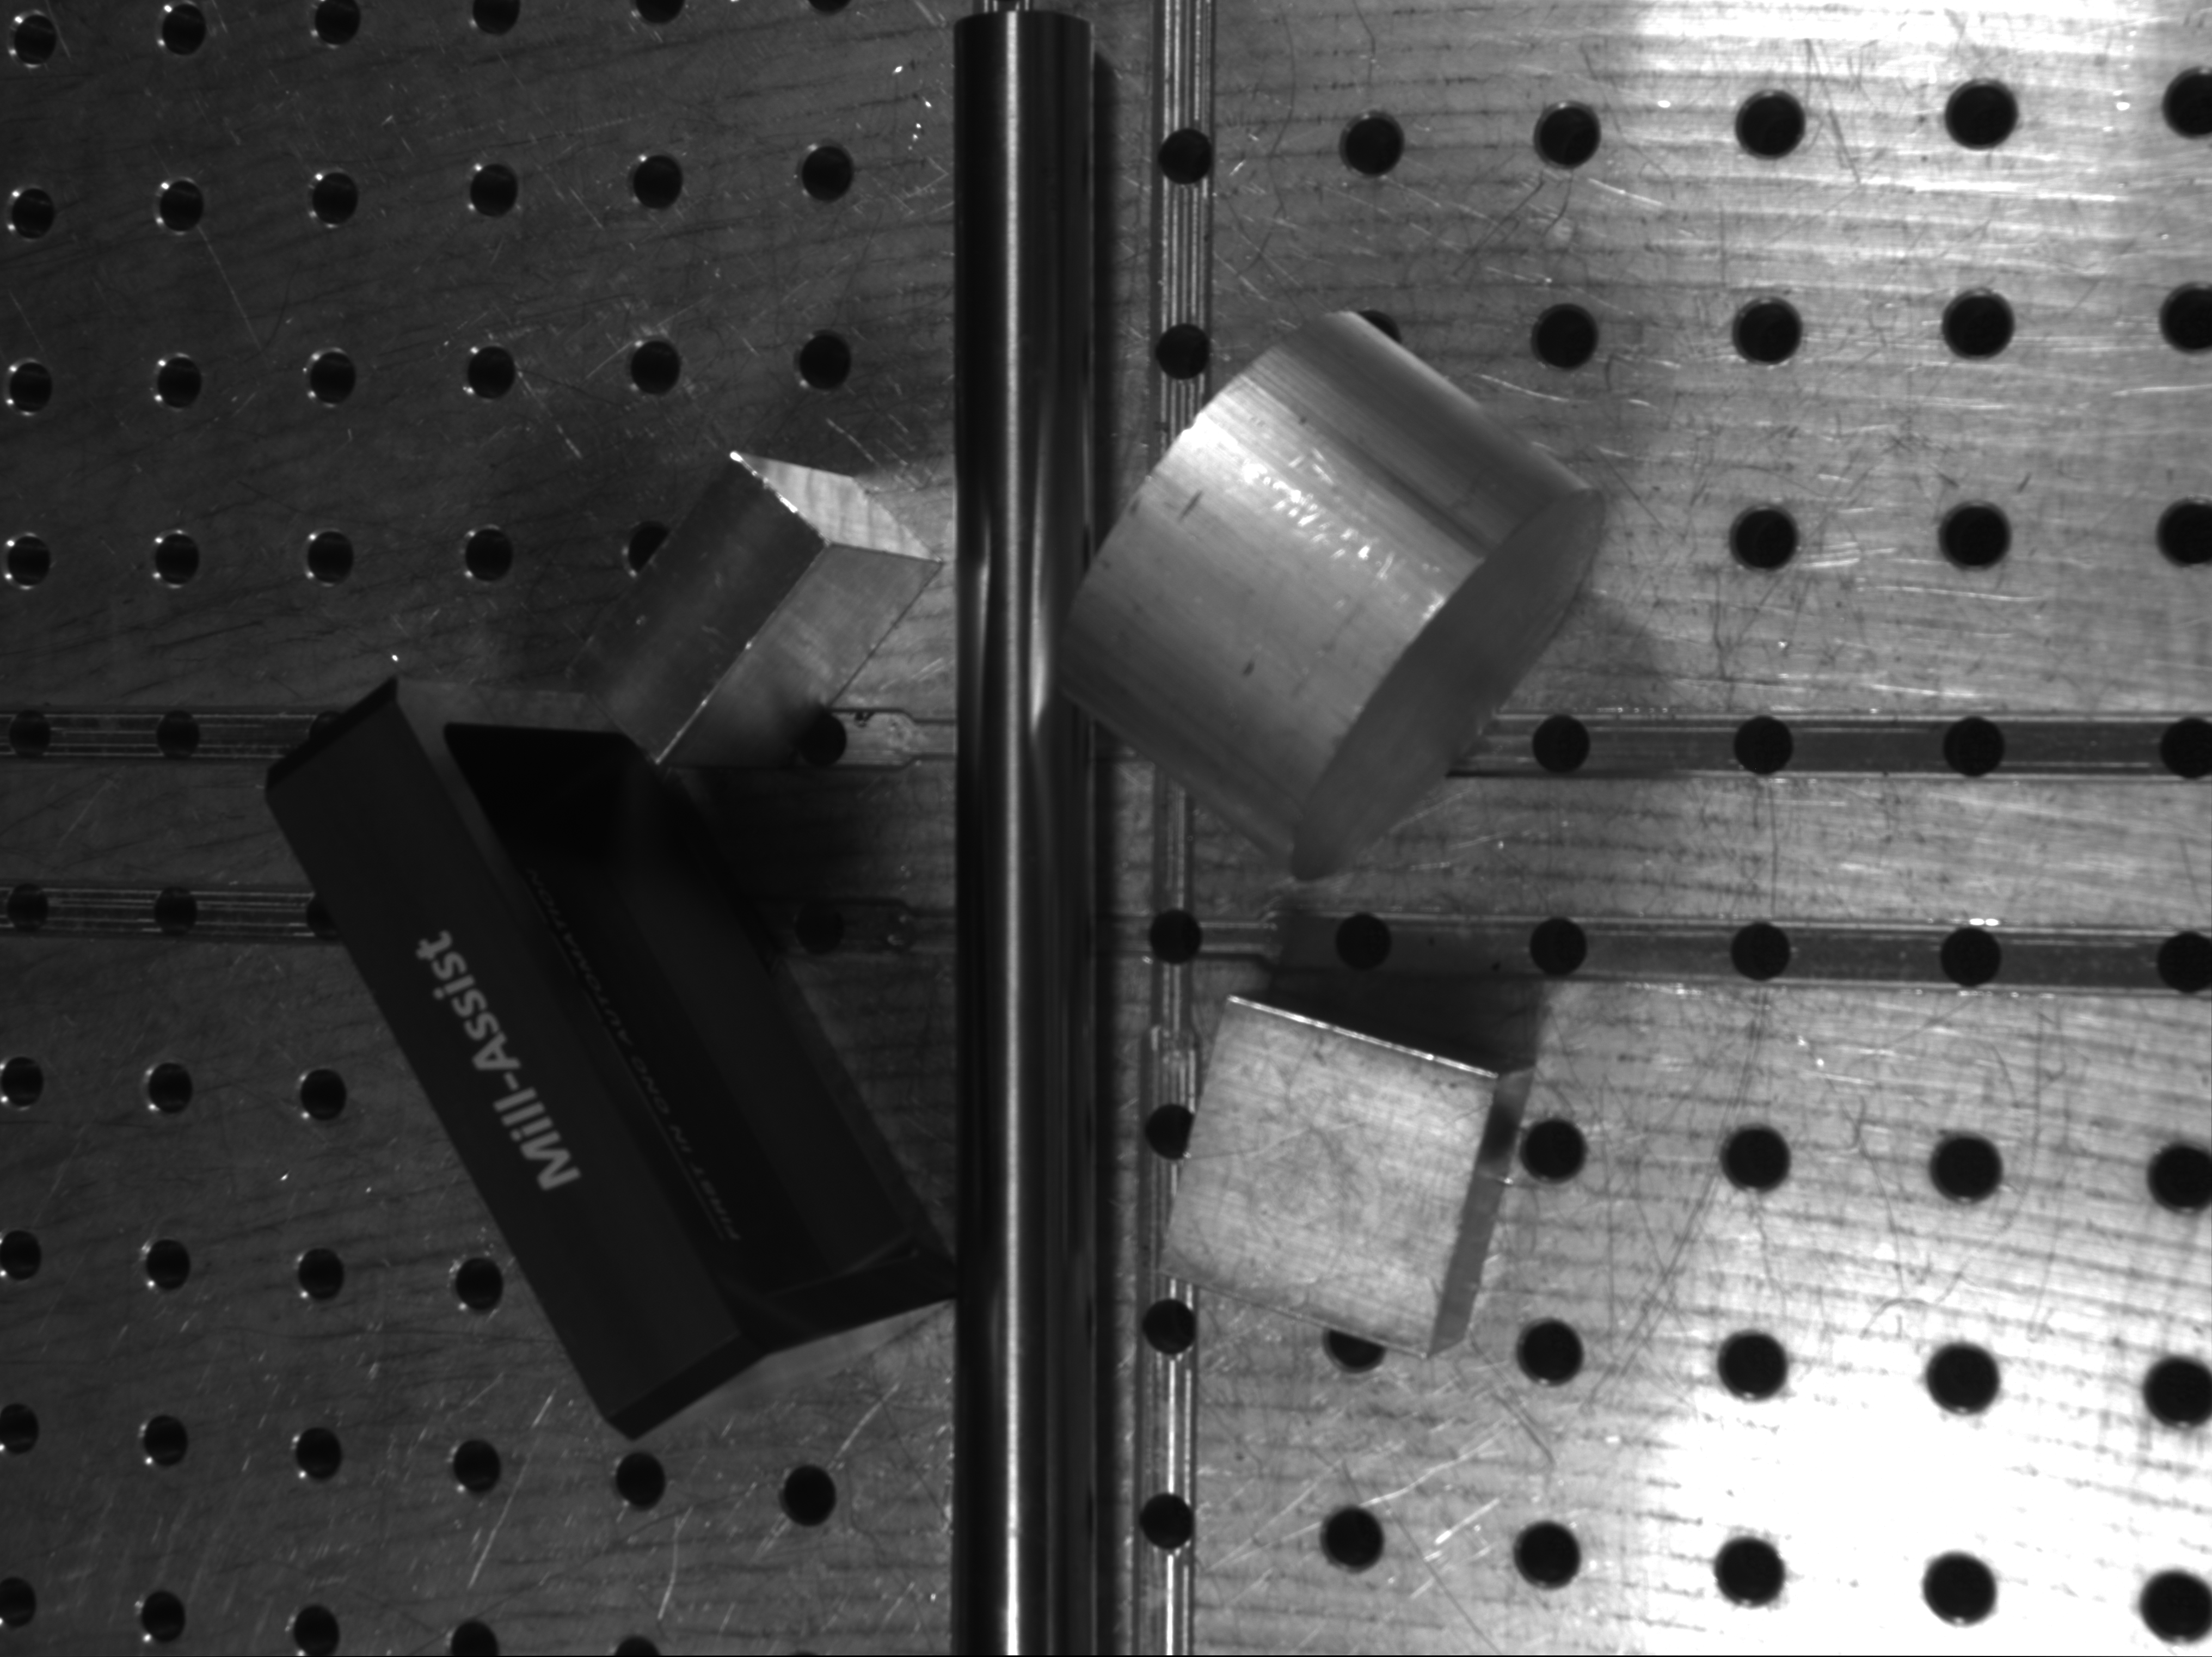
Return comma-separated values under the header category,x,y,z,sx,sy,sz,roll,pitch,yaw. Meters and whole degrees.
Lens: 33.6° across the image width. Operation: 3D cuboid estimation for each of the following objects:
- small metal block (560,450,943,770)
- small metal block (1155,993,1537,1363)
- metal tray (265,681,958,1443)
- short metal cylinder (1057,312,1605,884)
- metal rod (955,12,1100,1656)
category,x,y,z,sx,sy,sz,roll,pitch,yaw
small metal block,-0.063,-0.038,0.655,0.025,0.050,0.050,43,103,15
small metal block,0.042,0.059,0.633,0.050,0.025,0.050,16,95,19
metal tray,-0.084,0.038,0.642,0.030,0.090,0.130,-34,79,17
short metal cylinder,0.037,-0.038,0.604,0.050,0.080,0.080,39,102,16
metal rod,-0.014,0.007,0.651,0.025,0.025,0.300,0,90,20
